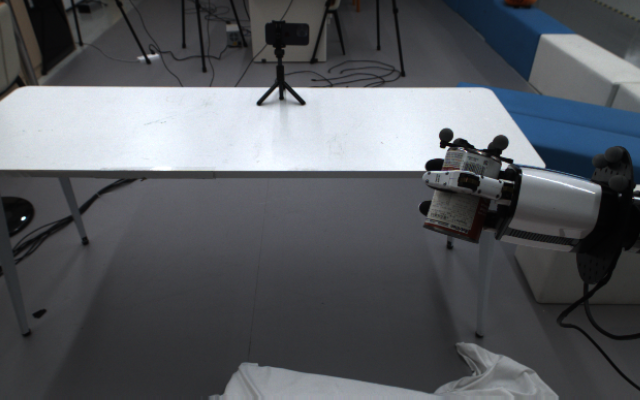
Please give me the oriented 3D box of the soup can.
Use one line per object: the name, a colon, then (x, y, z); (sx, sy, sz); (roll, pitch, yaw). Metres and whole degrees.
soup can: (0.172, -0.009, 0.587); (0.067, 0.101, 0.067); (17, -2, 1)
